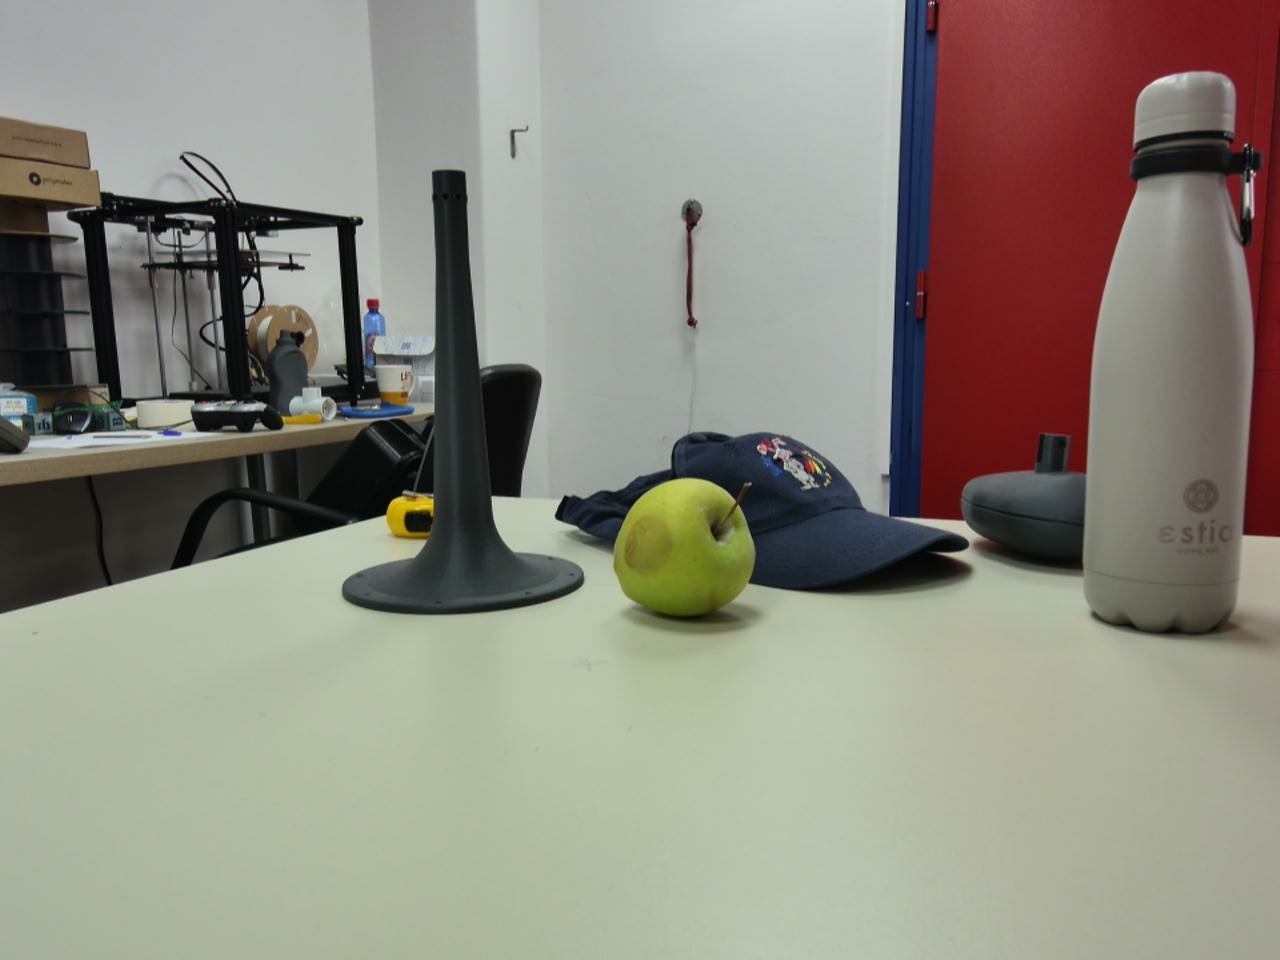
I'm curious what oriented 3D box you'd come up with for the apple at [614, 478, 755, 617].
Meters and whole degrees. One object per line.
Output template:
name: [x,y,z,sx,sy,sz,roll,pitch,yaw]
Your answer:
apple: [0.025,0.037,0.551,0.072,0.075,0.077,-3,6,-22]
